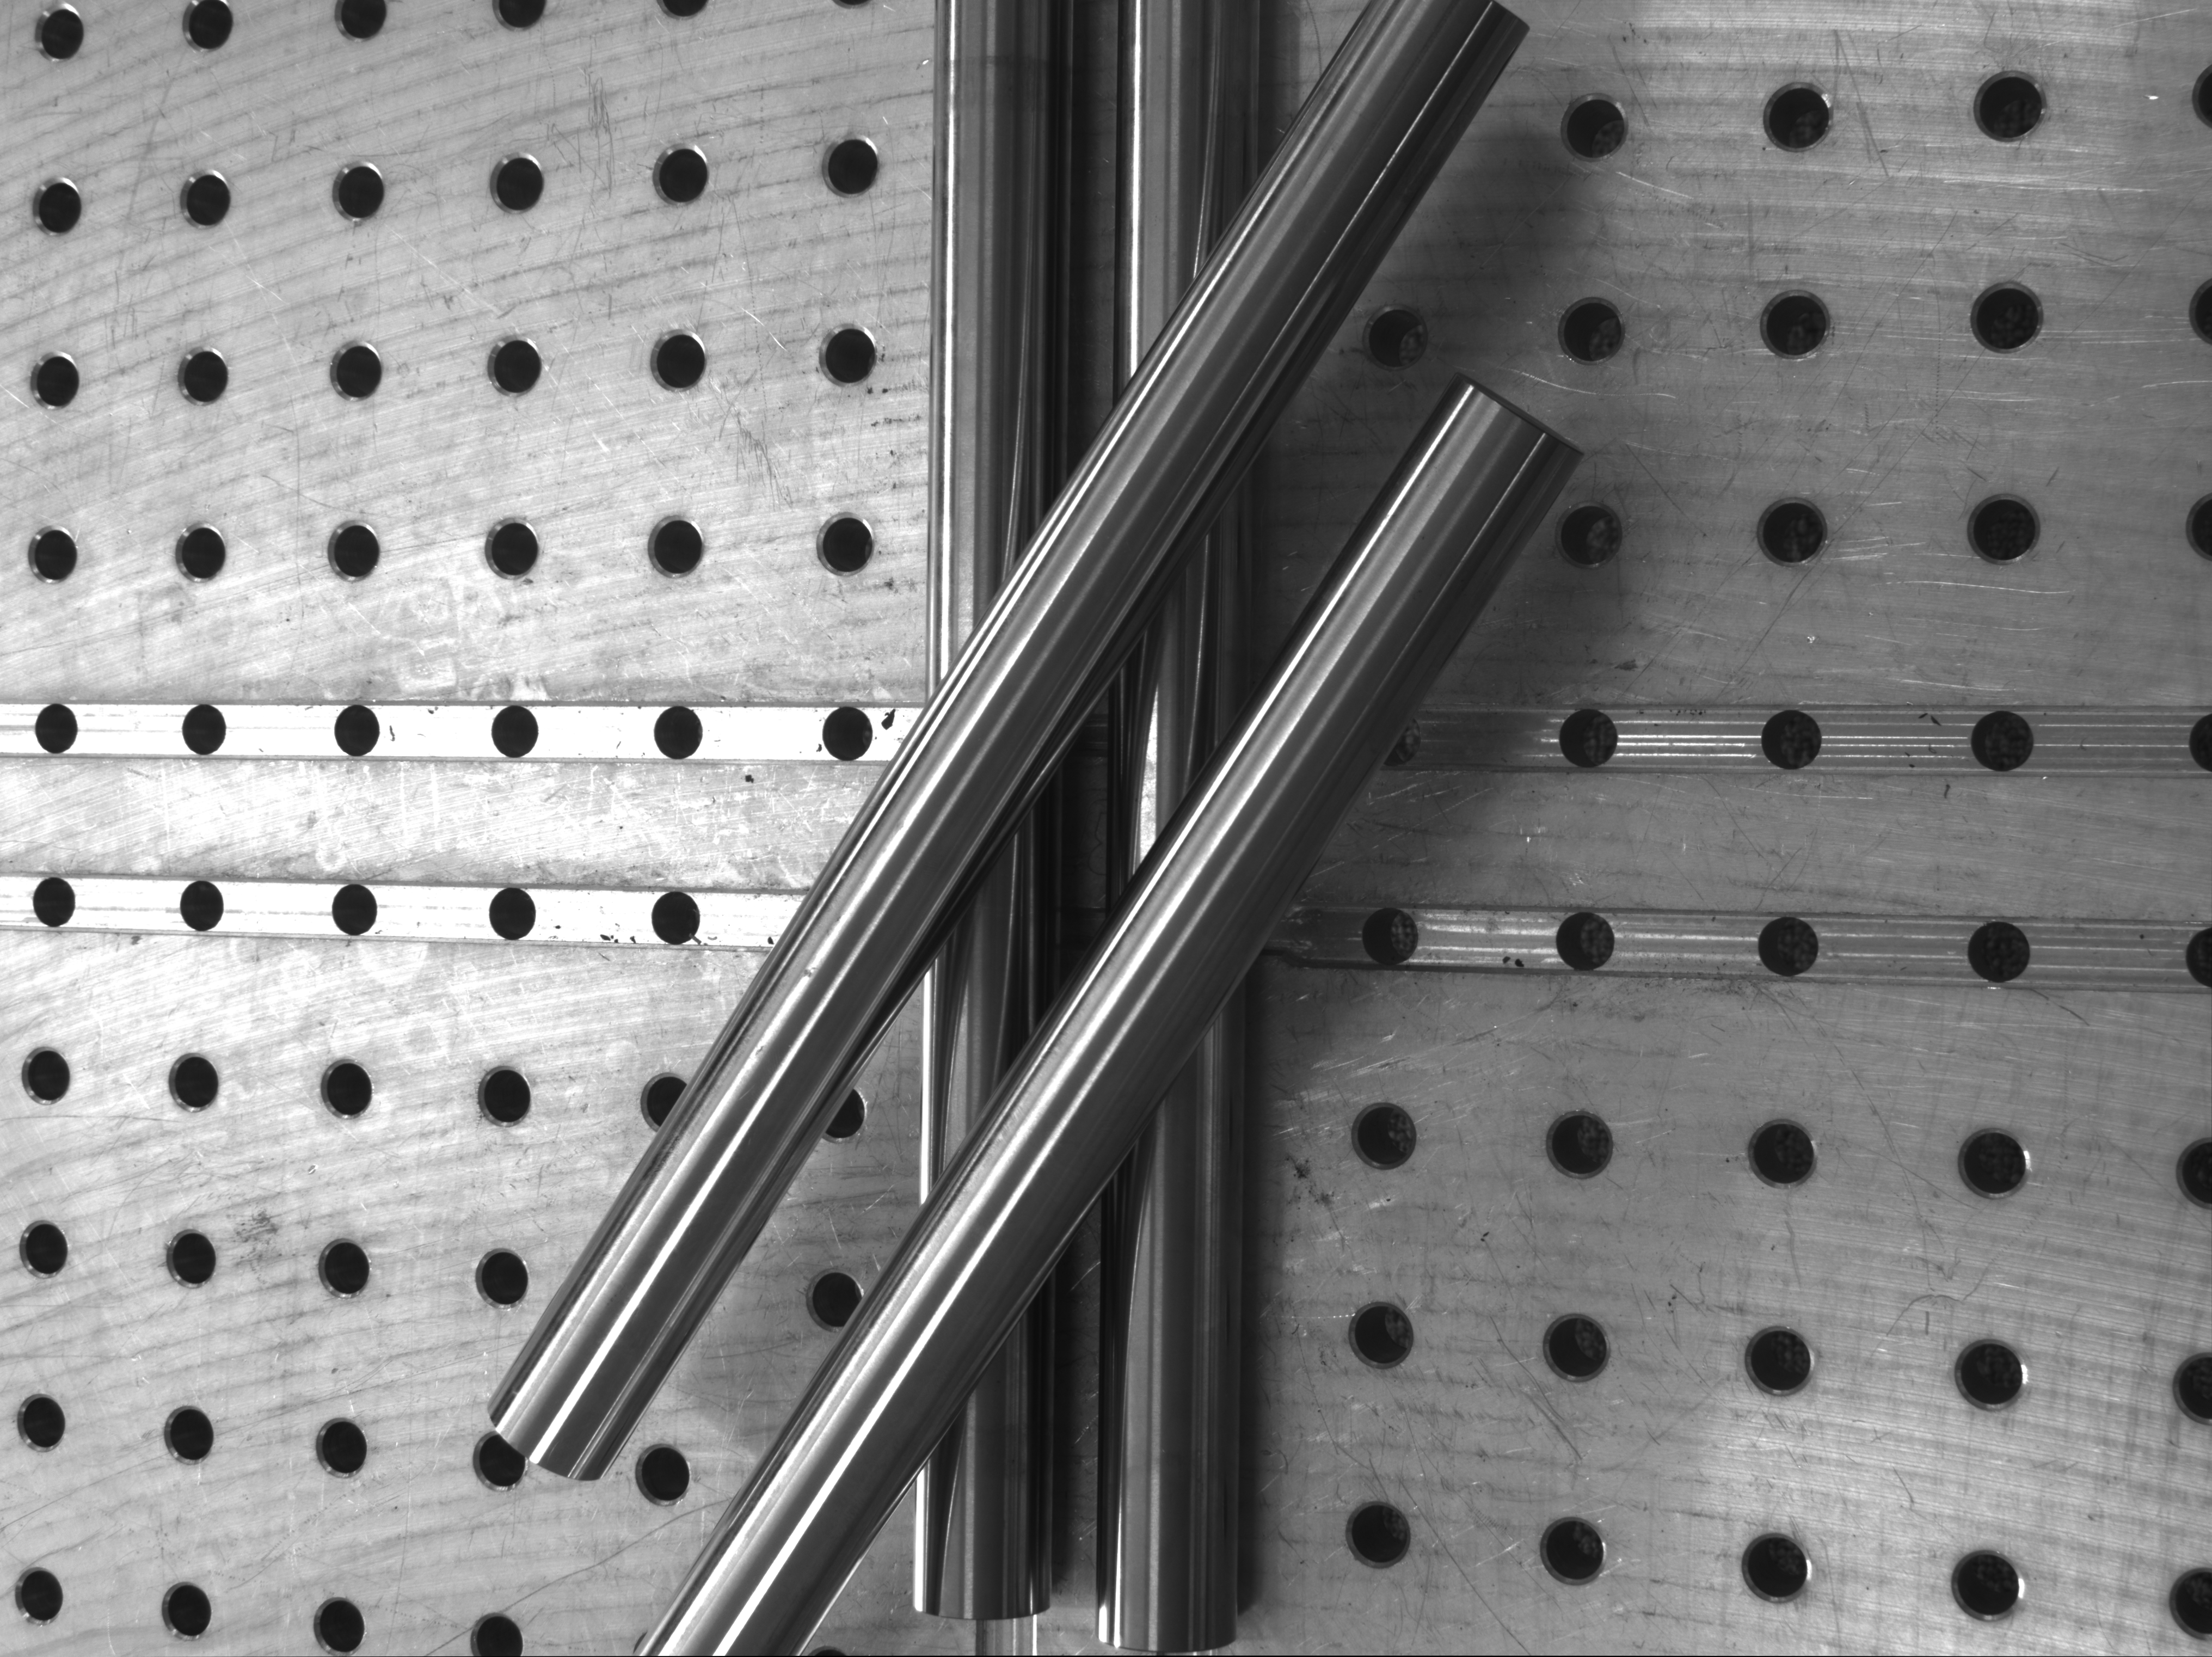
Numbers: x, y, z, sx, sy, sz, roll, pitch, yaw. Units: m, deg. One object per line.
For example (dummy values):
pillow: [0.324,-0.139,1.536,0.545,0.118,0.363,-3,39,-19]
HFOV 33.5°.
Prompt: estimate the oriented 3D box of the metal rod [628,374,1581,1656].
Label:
metal rod: [-0.012,0.057,0.627,0.025,0.025,0.300,36,101,17]

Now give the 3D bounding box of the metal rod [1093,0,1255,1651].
metal rod: [0.012,-0.008,0.646,0.025,0.025,0.300,1,90,20]

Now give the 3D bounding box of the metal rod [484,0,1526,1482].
metal rod: [-0.021,-0.014,0.631,0.025,0.025,0.300,36,102,17]

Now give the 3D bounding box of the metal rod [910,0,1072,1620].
metal rod: [-0.020,-0.011,0.658,0.025,0.025,0.300,1,90,20]
